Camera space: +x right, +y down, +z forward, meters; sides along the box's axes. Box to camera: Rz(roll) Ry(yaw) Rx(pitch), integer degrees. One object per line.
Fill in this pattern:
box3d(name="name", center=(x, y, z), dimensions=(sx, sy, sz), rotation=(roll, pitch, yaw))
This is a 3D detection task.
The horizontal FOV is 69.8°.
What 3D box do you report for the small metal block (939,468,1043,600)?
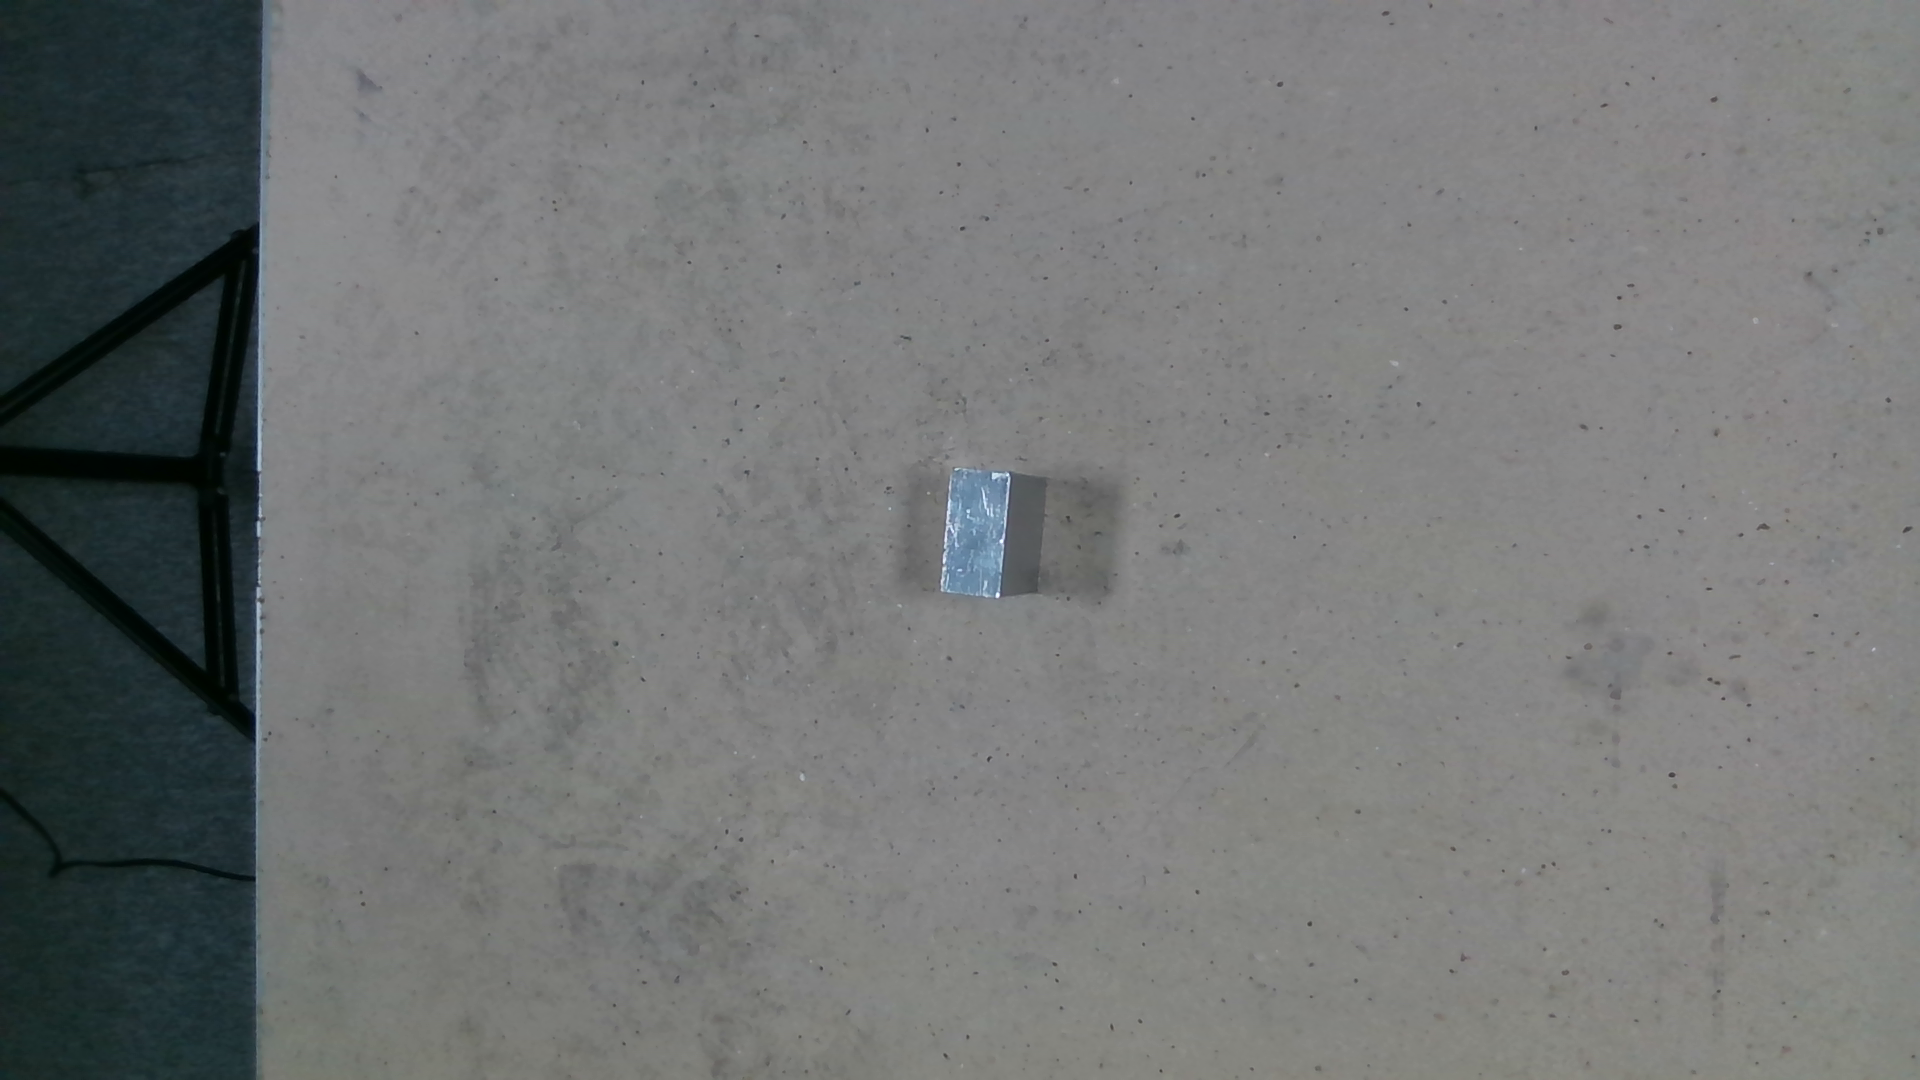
box3d(name="small metal block", center=(0.014, -0.003, 0.567), dimensions=(0.025, 0.050, 0.050), rotation=(6, 92, 20))
